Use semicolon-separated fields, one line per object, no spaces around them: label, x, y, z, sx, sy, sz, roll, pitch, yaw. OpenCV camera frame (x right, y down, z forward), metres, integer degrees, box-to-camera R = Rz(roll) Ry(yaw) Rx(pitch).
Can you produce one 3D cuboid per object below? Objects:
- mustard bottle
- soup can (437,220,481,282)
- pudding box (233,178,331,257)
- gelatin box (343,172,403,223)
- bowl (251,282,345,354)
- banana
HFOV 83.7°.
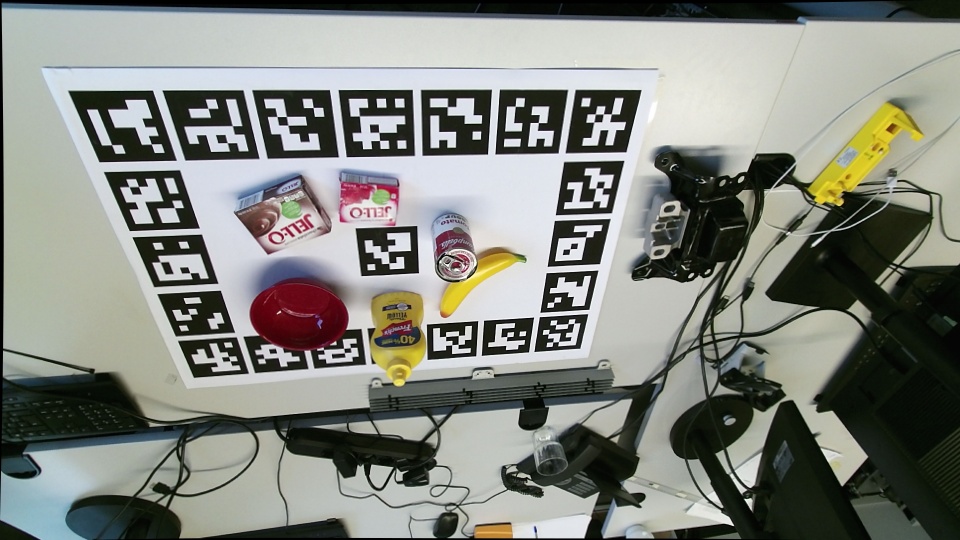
mustard bottle;-0.139;0.128;0.913;0.096;0.190;0.058;-3;130;-8
soup can;-0.034;-0.027;0.872;0.068;0.101;0.068;-4;129;-5
pudding box;-0.304;-0.080;0.831;0.114;0.038;0.090;-22;123;6
gelatin box;-0.168;-0.112;0.838;0.090;0.030;0.073;2;124;-13
bowl;-0.319;0.074;0.941;0.162;0.055;0.162;-6;129;-8
banana;-0.004;0.035;0.978;0.197;0.038;0.074;-41;134;21
